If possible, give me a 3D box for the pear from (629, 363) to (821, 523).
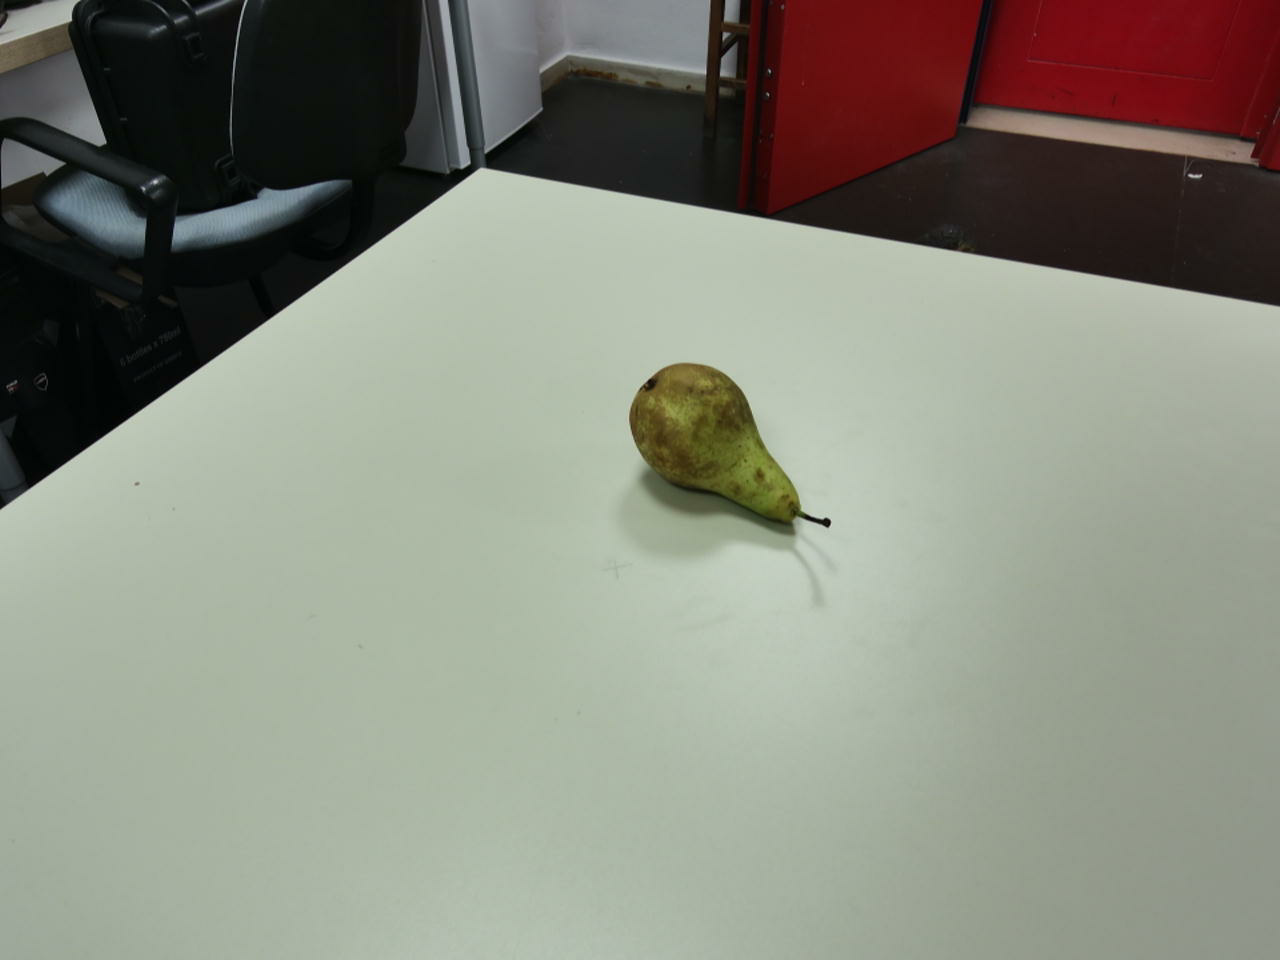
[{"bbox_3d":[0.060,-0.022,0.590,0.144,0.075,0.071,21,43,25],"label":"pear"}]
